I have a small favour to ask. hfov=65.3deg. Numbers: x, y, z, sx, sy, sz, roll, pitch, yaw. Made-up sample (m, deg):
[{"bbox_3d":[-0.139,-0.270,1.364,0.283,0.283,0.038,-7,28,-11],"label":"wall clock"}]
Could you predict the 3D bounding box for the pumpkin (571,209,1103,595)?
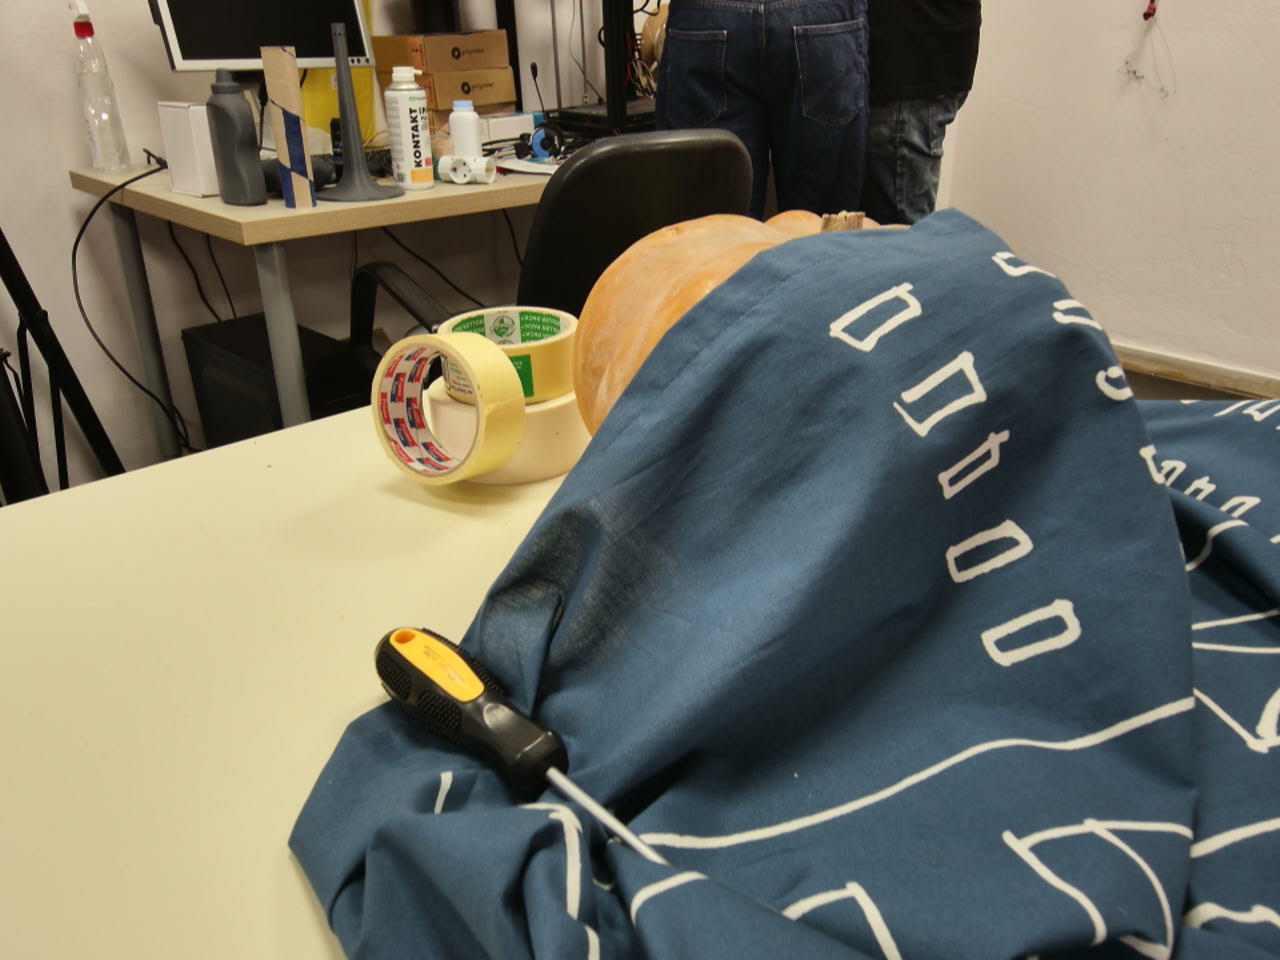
[{"bbox_3d":[0.095,-0.050,0.532,0.277,0.181,0.277,0,24,0],"label":"pumpkin"}]
